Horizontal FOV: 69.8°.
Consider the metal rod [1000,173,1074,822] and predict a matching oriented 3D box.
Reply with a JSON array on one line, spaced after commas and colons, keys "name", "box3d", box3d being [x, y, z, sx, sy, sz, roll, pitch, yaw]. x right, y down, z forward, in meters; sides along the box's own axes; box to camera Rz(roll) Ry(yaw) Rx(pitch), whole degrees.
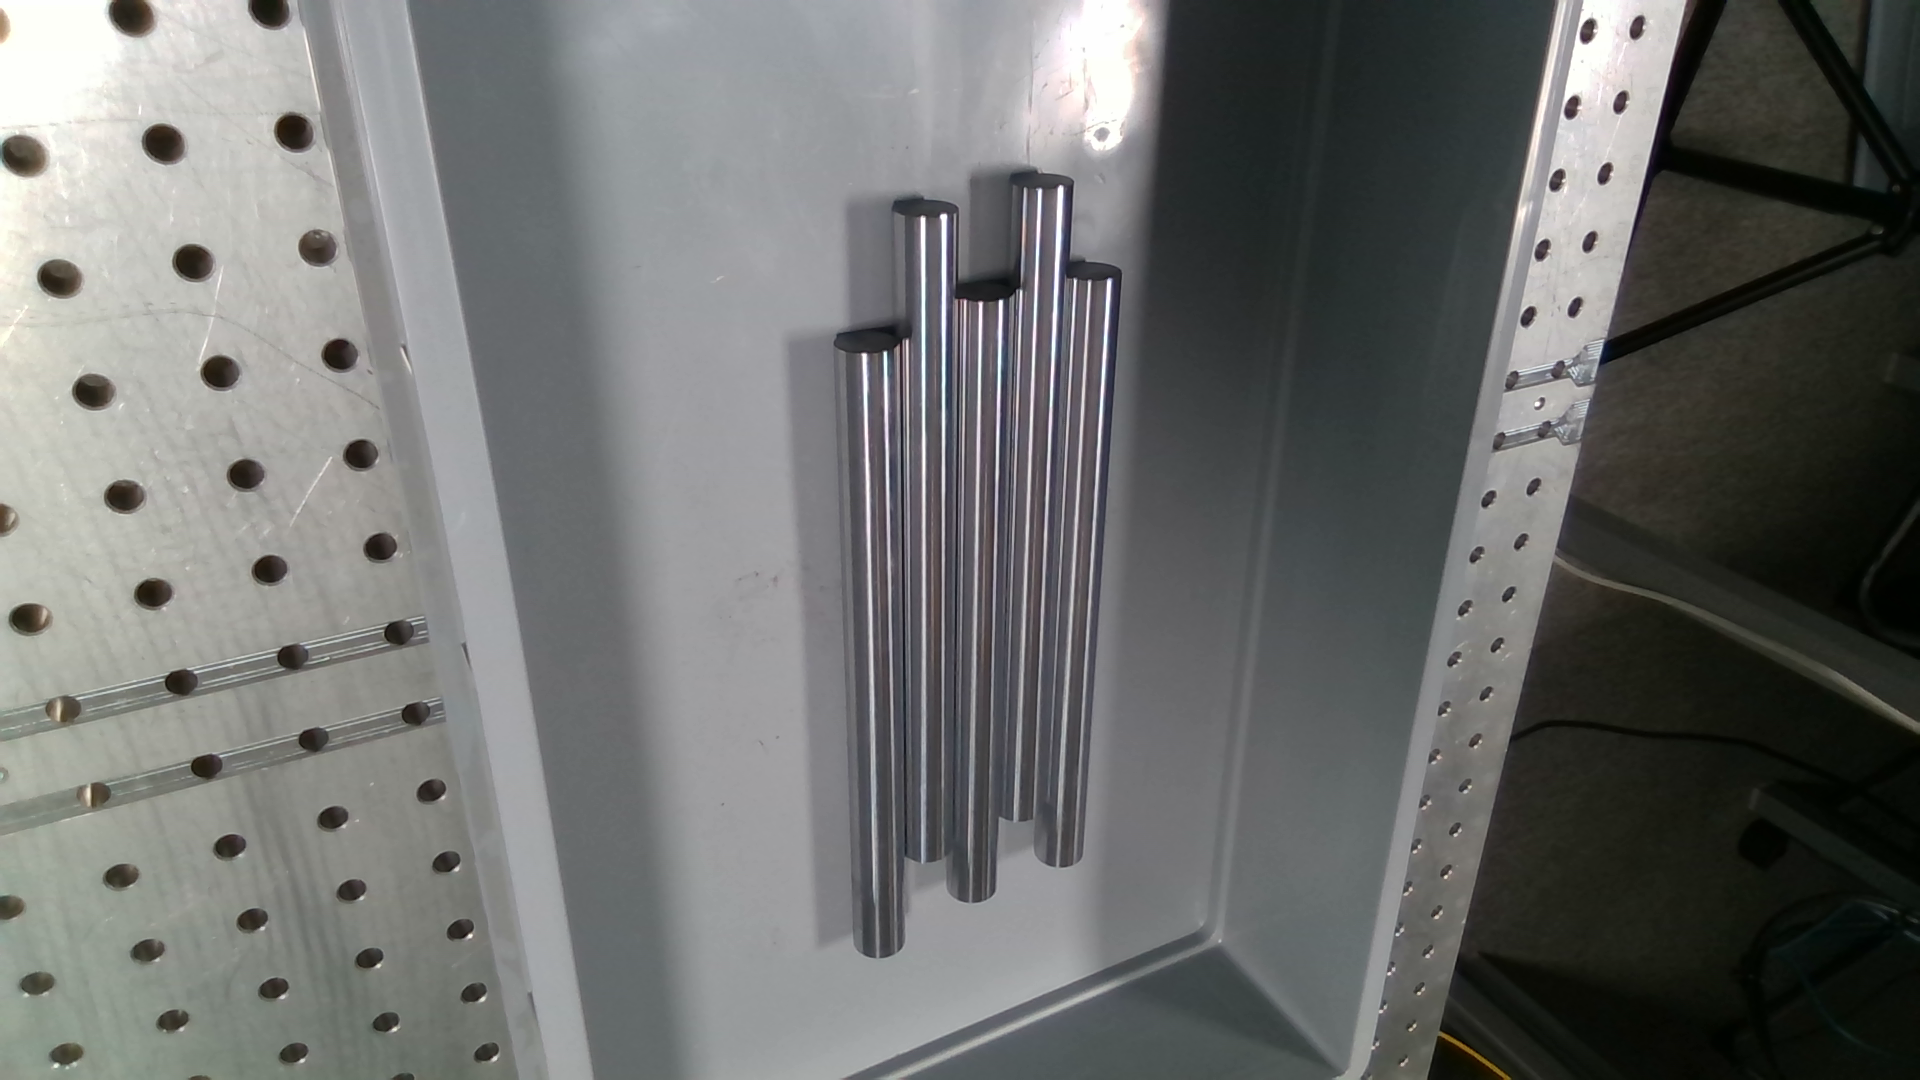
[{"name": "metal rod", "box3d": [0.029, -0.004, 0.595, 0.025, 0.025, 0.301, -14, 121, -25]}]

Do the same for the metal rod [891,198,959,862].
[{"name": "metal rod", "box3d": [-0.015, 0.010, 0.576, 0.025, 0.025, 0.301, -14, 121, -25]}]

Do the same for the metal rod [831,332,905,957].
[{"name": "metal rod", "box3d": [-0.037, 0.058, 0.588, 0.025, 0.025, 0.301, -14, 121, -25]}]

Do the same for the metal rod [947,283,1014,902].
[{"name": "metal rod", "box3d": [0.007, 0.036, 0.603, 0.025, 0.025, 0.301, -14, 121, -25]}]

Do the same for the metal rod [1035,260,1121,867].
[{"name": "metal rod", "box3d": [0.051, 0.024, 0.623, 0.025, 0.025, 0.301, -14, 121, -25]}]
